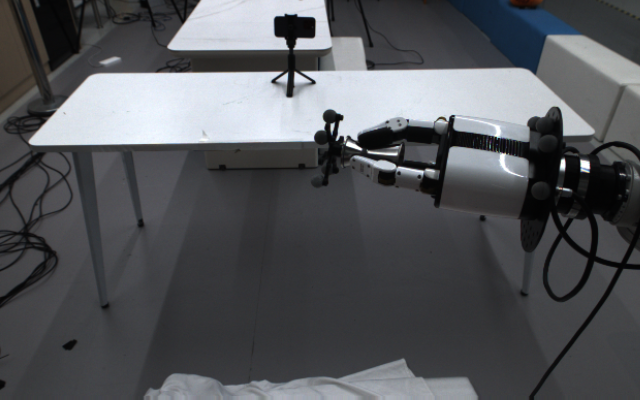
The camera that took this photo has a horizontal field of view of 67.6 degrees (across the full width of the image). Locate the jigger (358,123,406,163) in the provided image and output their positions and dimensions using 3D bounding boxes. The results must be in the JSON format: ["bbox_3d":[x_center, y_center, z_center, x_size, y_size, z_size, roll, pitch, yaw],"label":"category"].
[{"bbox_3d":[0.069,-0.054,0.574,0.071,0.043,0.043,11,36,15],"label":"jigger"}]
